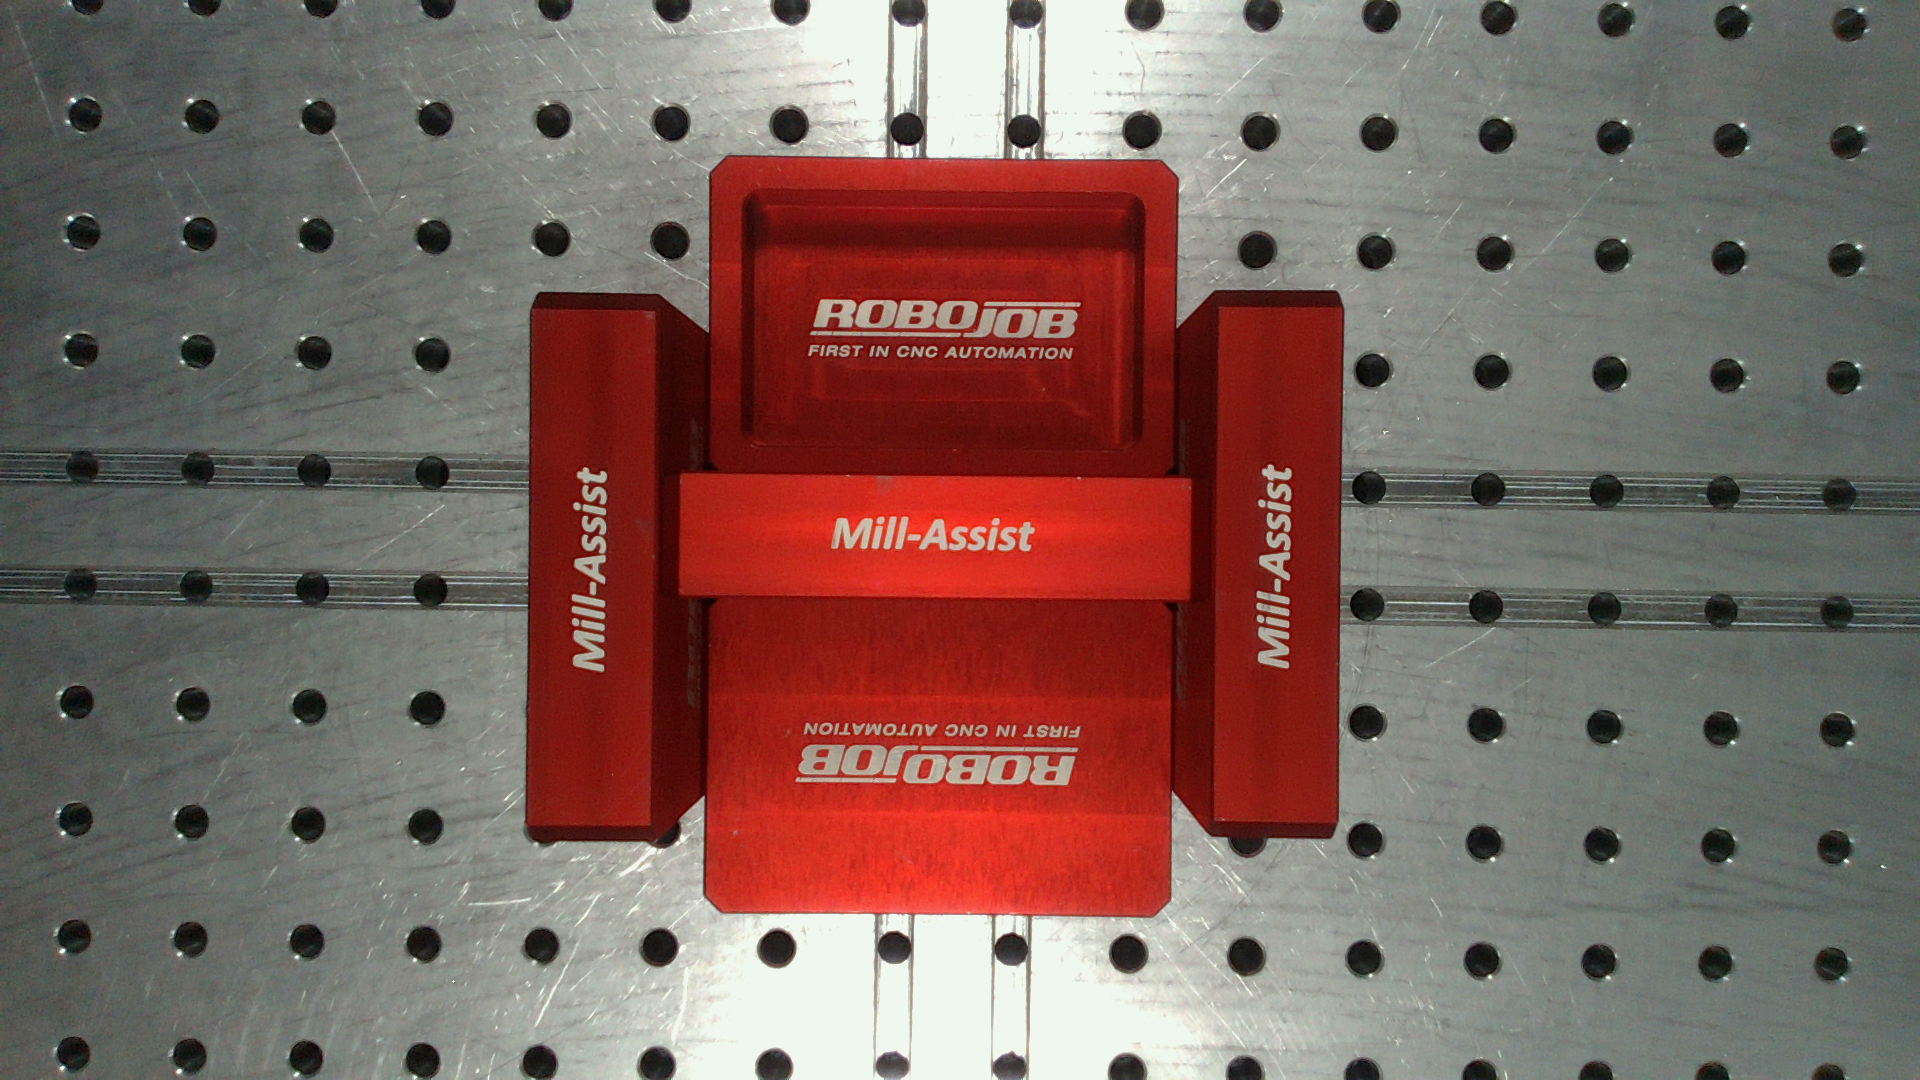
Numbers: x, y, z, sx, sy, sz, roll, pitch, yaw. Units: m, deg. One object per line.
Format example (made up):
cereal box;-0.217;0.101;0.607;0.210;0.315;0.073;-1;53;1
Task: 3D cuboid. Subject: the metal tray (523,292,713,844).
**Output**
metal tray;-0.086;0.007;0.364;0.030;0.090;0.130;1;90;0

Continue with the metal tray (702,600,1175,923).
metal tray;-0.006;0.060;0.394;0.130;0.030;0.090;0;90;0

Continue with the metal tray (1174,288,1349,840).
metal tray;0.075;0.006;0.365;0.030;0.090;0.130;1;90;0

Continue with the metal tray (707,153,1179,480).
metal tray;-0.005;-0.061;0.395;0.130;0.030;0.090;0;90;0

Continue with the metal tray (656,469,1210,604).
metal tray;-0.006;-0.001;0.363;0.130;0.090;0.030;1;90;0
